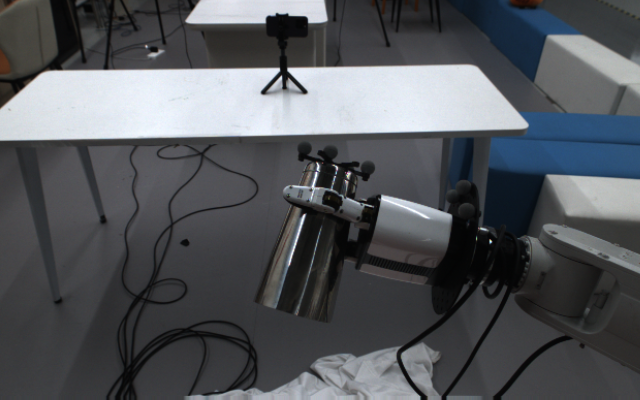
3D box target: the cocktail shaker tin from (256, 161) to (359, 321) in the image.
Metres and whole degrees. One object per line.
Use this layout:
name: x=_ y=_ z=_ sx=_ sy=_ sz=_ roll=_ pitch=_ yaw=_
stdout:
cocktail shaker tin: x=-0.005 y=0.045 z=0.564 sx=0.093 sy=0.093 sz=0.170 roll=13 pitch=79 yaw=15
